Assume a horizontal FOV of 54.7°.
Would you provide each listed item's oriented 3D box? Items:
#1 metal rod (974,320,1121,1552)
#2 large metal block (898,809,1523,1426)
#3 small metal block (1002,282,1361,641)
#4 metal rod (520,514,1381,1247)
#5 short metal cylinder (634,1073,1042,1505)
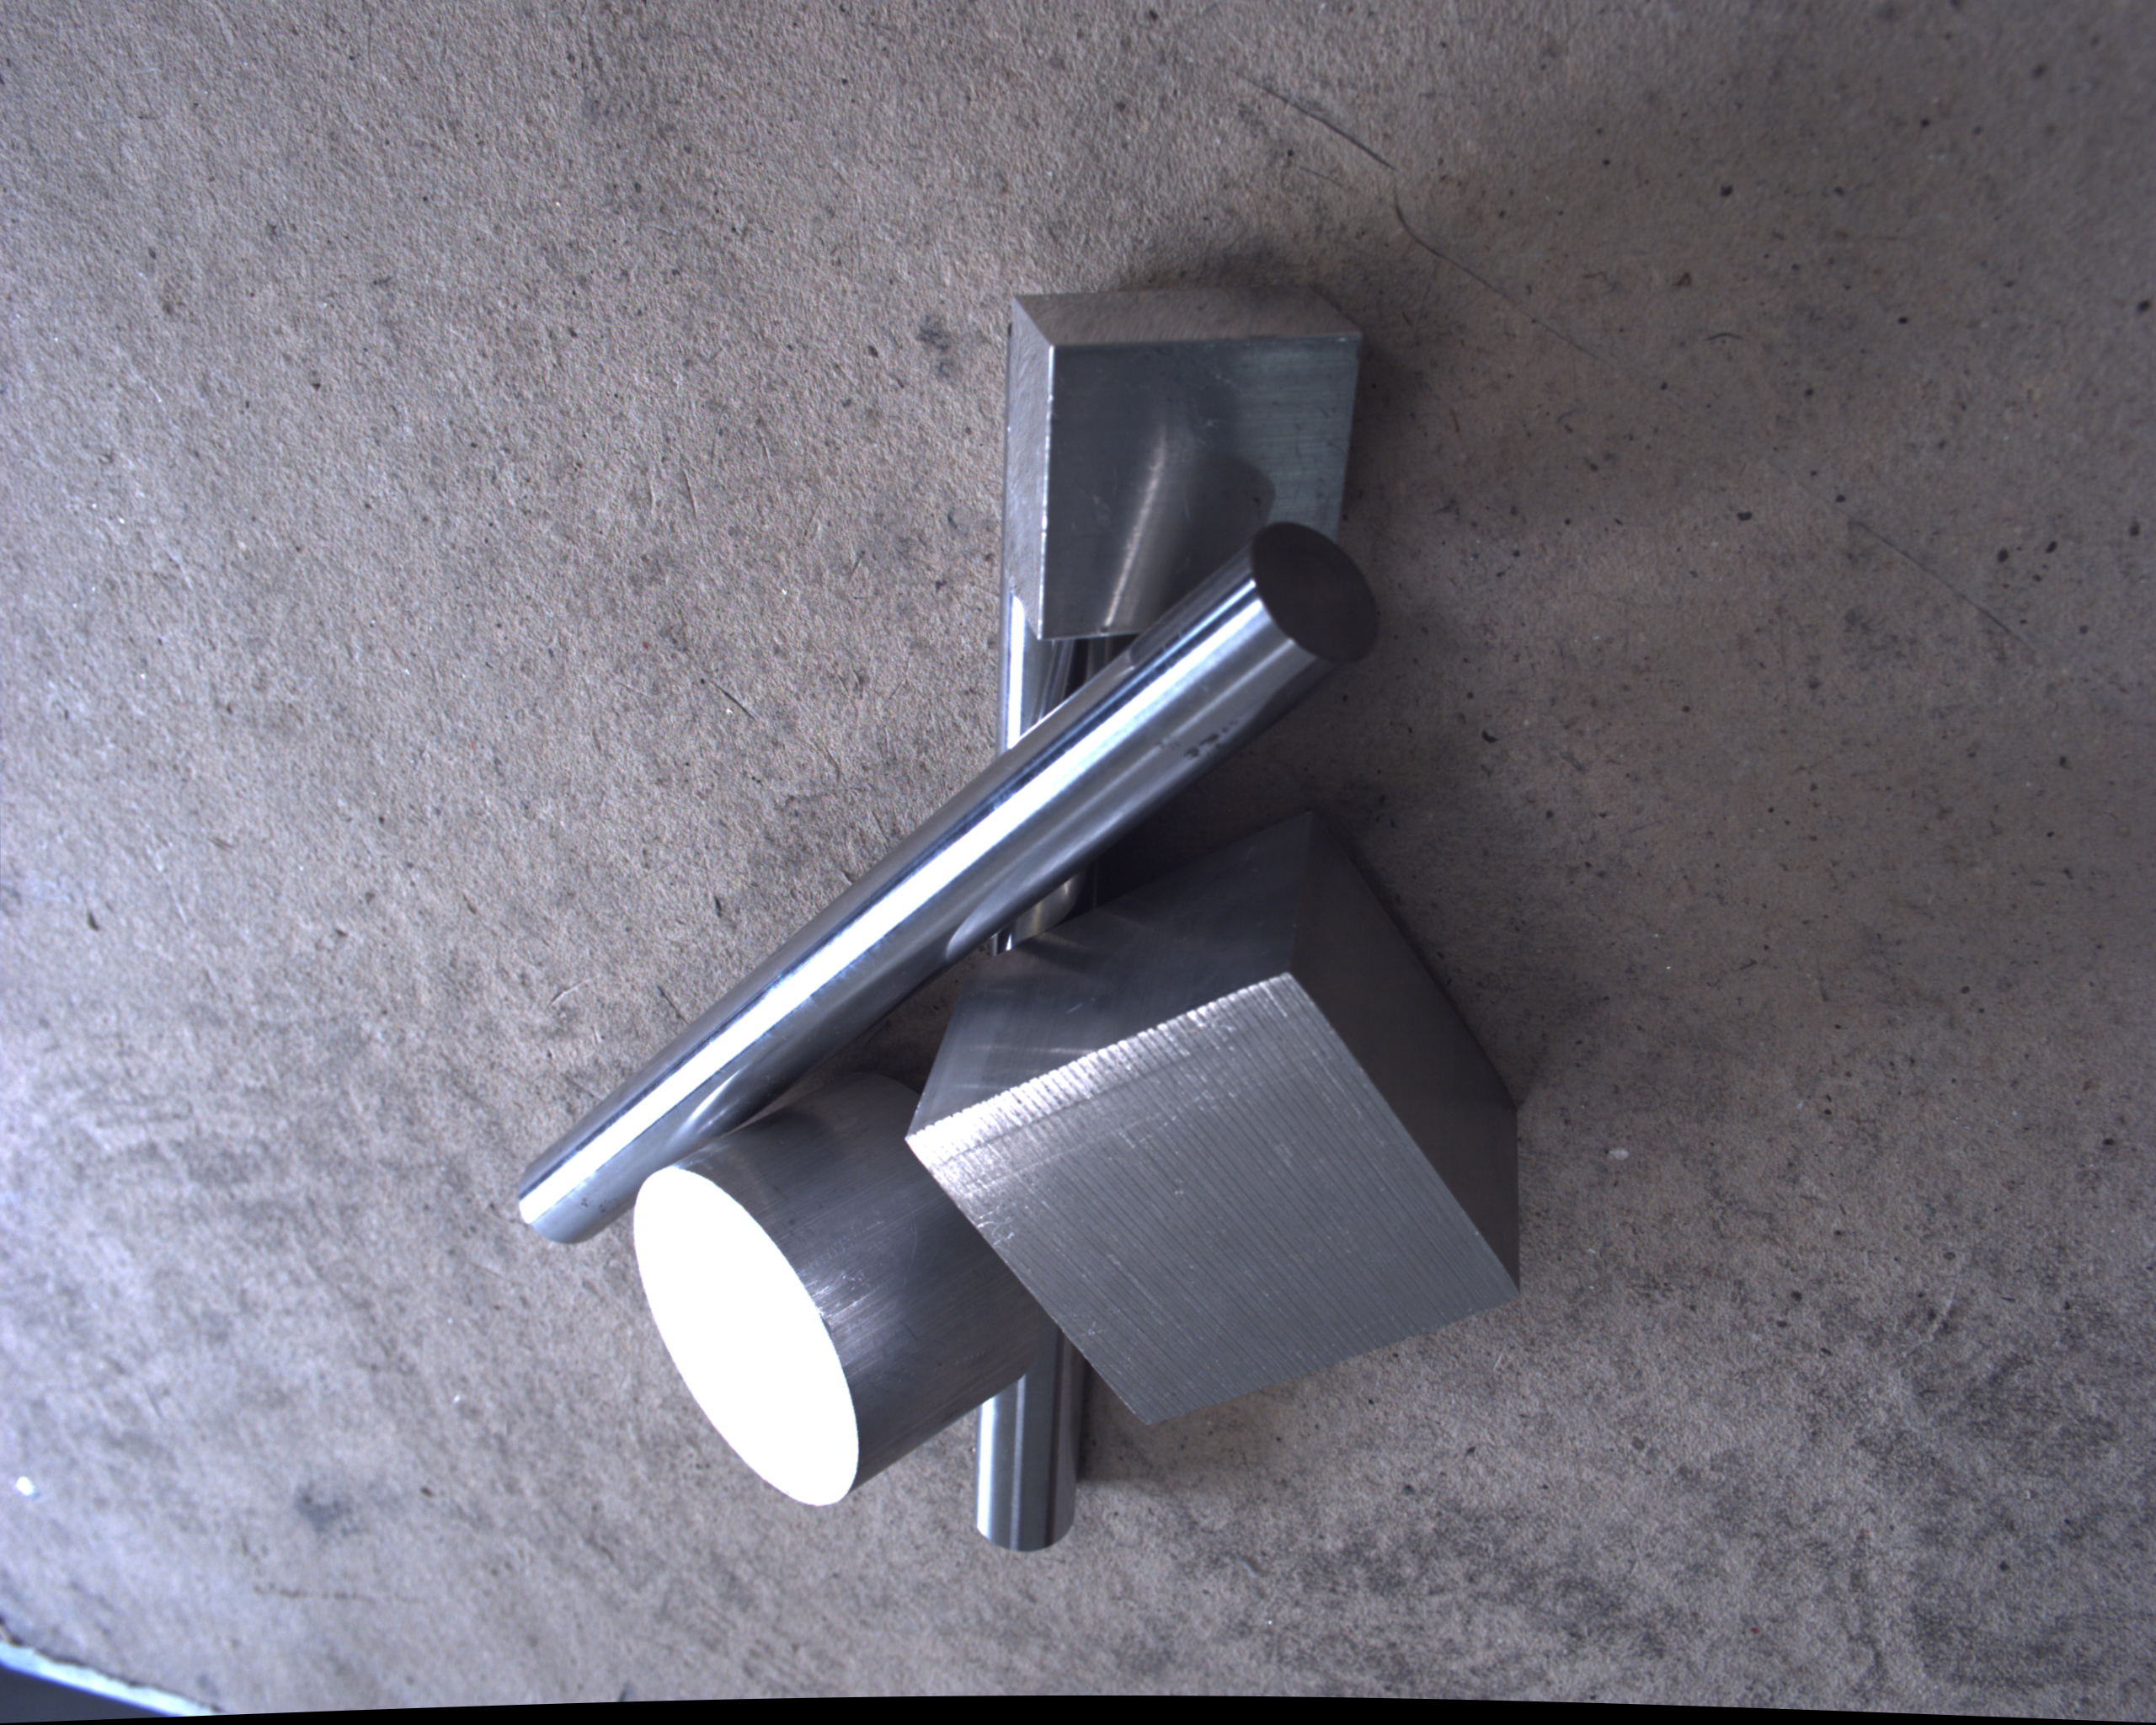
[{"bbox_3d":[-0.007,0.035,0.433,0.025,0.025,0.298,16,125,19],"label":"metal rod"},{"bbox_3d":[0.027,0.049,0.389,0.080,0.050,0.080,-26,114,24],"label":"large metal block"},{"bbox_3d":[0.016,-0.066,0.343,0.050,0.025,0.050,-6,123,-14],"label":"small metal block"},{"bbox_3d":[-0.047,0.022,0.424,0.025,0.025,0.299,47,136,-5],"label":"metal rod"},{"bbox_3d":[-0.054,0.093,0.462,0.080,0.050,0.079,27,129,39],"label":"short metal cylinder"}]
